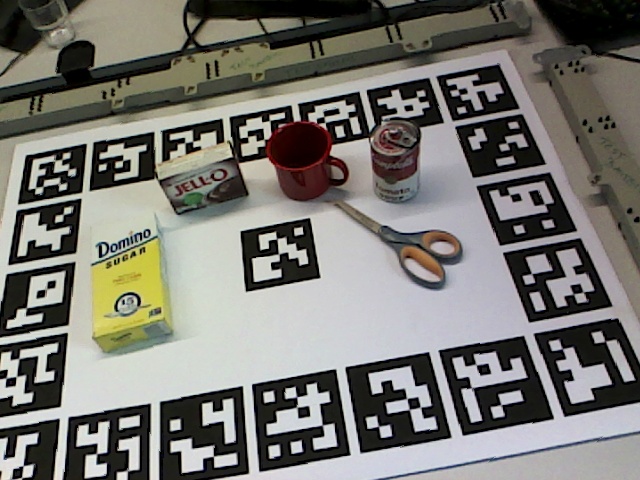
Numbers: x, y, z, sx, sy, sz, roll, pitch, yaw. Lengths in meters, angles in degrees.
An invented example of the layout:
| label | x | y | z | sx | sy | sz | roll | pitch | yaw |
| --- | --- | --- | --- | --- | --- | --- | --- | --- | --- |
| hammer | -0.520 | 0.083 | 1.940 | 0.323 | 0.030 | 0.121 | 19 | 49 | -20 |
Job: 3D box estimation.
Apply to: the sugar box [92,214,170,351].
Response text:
| label | x | y | z | sx | sy | sz | roll | pitch | yaw |
| --- | --- | --- | --- | --- | --- | --- | --- | --- | --- |
| sugar box | -0.262 | 0.055 | 0.849 | 0.093 | 0.045 | 0.177 | -15 | 59 | 2 |

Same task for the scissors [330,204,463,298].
| label | x | y | z | sx | sy | sz | roll | pitch | yaw |
| --- | --- | --- | --- | --- | --- | --- | --- | --- | --- |
| scissors | 0.096 | -0.003 | 0.839 | 0.204 | 0.016 | 0.087 | 33 | 78 | 24 |

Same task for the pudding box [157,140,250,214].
| label | x | y | z | sx | sy | sz | roll | pitch | yaw |
| --- | --- | --- | --- | --- | --- | --- | --- | --- | --- |
| pudding box | -0.166 | -0.089 | 0.889 | 0.114 | 0.090 | 0.039 | -19 | 64 | -3 |

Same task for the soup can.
| label | x | y | z | sx | sy | sz | roll | pitch | yaw |
| --- | --- | --- | --- | --- | --- | --- | --- | --- | --- |
| soup can | 0.100 | -0.105 | 0.861 | 0.068 | 0.101 | 0.068 | -5 | 57 | 7 |

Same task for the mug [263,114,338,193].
| label | x | y | z | sx | sy | sz | roll | pitch | yaw |
| --- | --- | --- | --- | --- | --- | --- | --- | --- | --- |
| mug | -0.019 | -0.115 | 0.890 | 0.093 | 0.081 | 0.118 | -44 | 61 | -15 |
